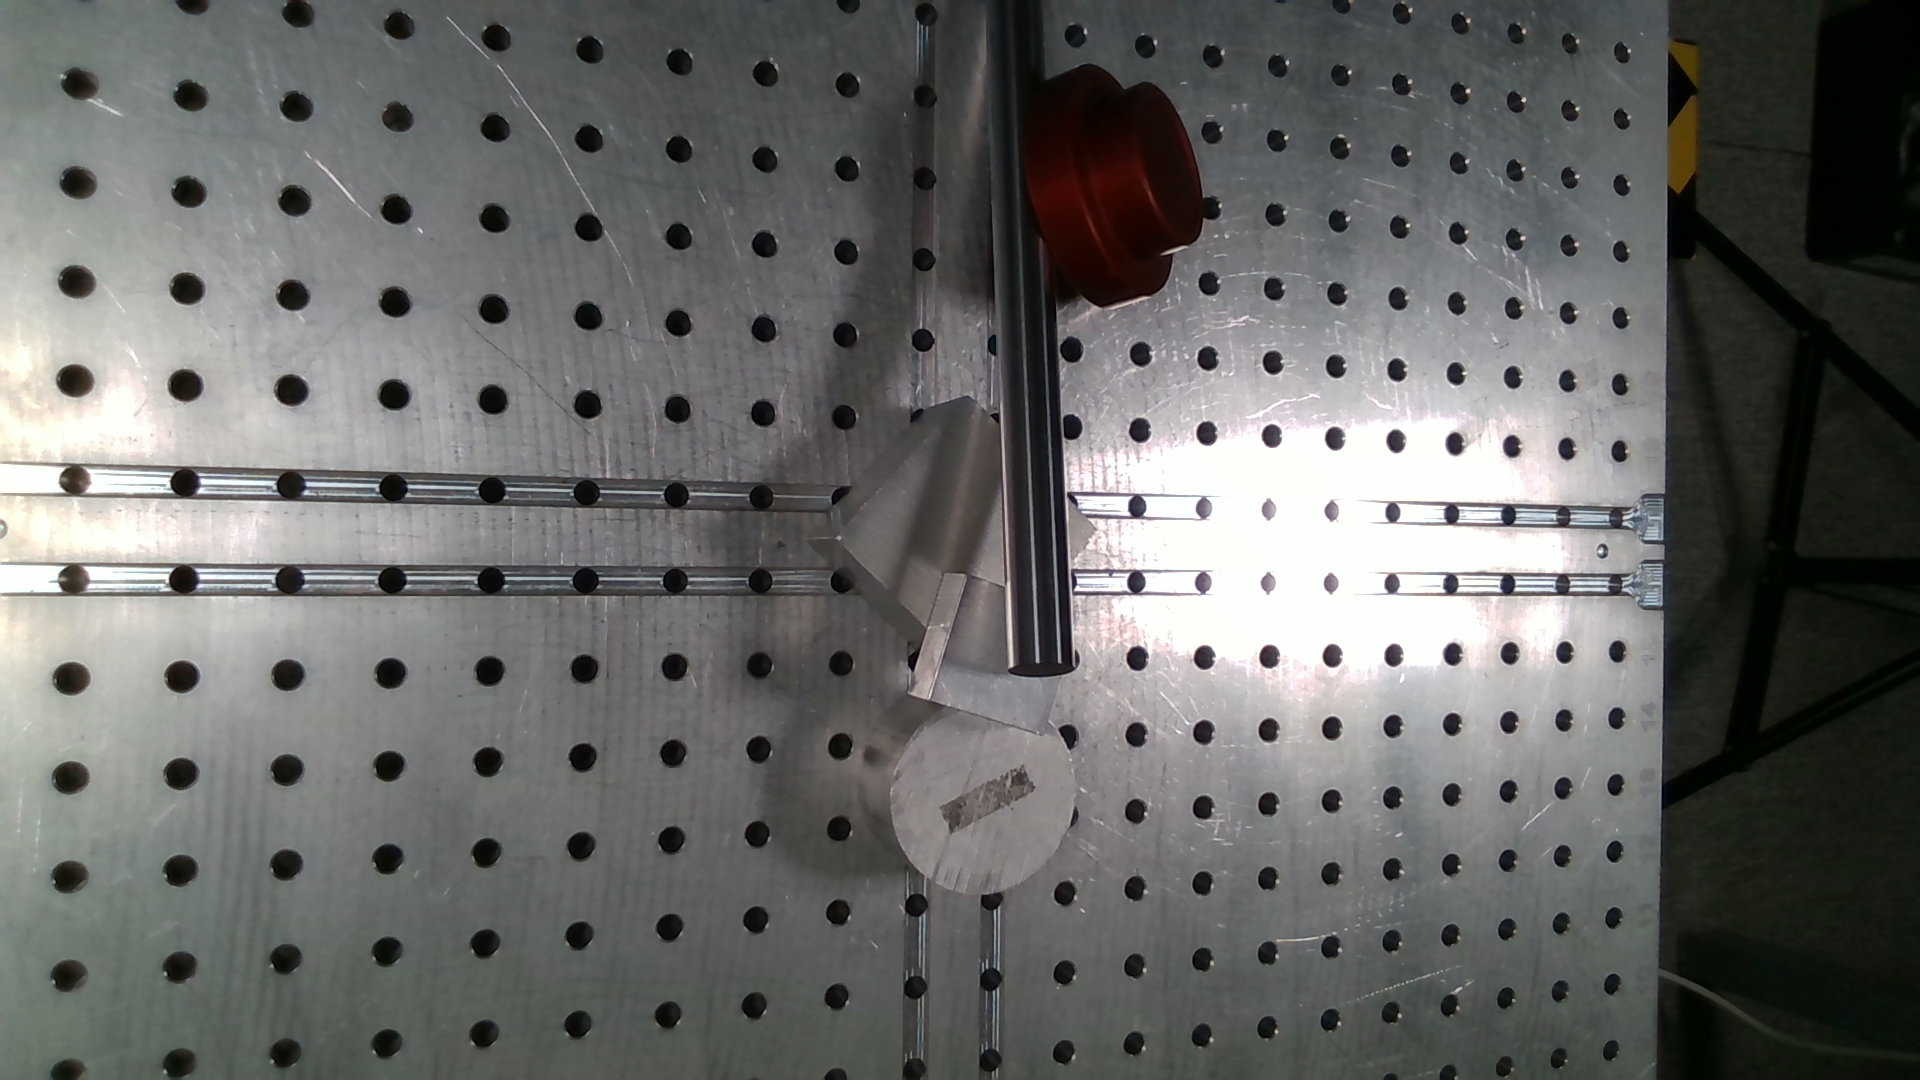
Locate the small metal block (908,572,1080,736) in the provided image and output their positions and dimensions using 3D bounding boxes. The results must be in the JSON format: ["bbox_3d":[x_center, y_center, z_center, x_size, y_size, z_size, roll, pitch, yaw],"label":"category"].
[{"bbox_3d":[0.013,0.044,0.538,0.050,0.025,0.050,20,83,-19],"label":"small metal block"}]

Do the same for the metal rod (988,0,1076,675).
[{"bbox_3d":[0.027,-0.094,0.551,0.025,0.025,0.299,5,71,-20],"label":"metal rod"}]

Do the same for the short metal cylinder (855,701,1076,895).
[{"bbox_3d":[0.001,0.103,0.576,0.080,0.050,0.080,0,90,-20],"label":"short metal cylinder"}]

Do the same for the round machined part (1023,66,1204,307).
[{"bbox_3d":[0.069,-0.150,0.576,0.098,0.042,0.098,29,55,-52],"label":"round machined part"}]

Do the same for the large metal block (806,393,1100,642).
[{"bbox_3d":[-0.004,-0.002,0.571,0.080,0.050,0.080,45,76,-15],"label":"large metal block"}]
